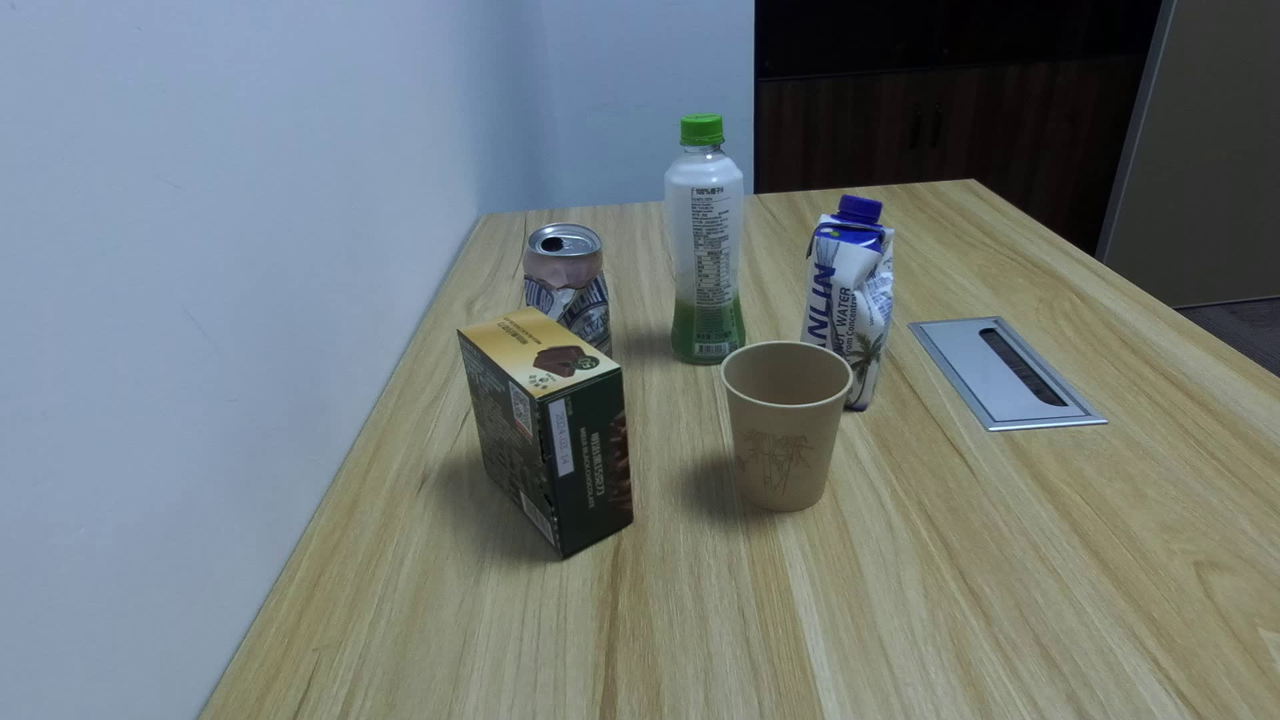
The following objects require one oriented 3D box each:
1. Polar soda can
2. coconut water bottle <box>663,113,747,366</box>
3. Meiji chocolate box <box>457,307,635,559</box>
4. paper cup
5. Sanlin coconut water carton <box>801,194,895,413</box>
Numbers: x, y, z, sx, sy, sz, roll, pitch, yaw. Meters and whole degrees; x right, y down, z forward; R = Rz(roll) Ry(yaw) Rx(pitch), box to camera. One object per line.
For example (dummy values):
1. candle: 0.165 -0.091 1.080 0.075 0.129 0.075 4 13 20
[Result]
1. Polar soda can: -0.055 -0.039 0.554 0.067 0.122 0.070 -4 32 -12
2. coconut water bottle: 0.052 -0.091 0.552 0.063 0.189 0.063 -3 26 2
3. Meiji chocolate box: -0.057 0.040 0.426 0.056 0.109 0.109 -21 33 -28
4. paper cup: 0.085 0.042 0.419 0.075 0.082 0.075 -3 30 2
5. Sanlin coconut water carton: 0.145 -0.039 0.494 0.060 0.144 0.070 11 31 22
